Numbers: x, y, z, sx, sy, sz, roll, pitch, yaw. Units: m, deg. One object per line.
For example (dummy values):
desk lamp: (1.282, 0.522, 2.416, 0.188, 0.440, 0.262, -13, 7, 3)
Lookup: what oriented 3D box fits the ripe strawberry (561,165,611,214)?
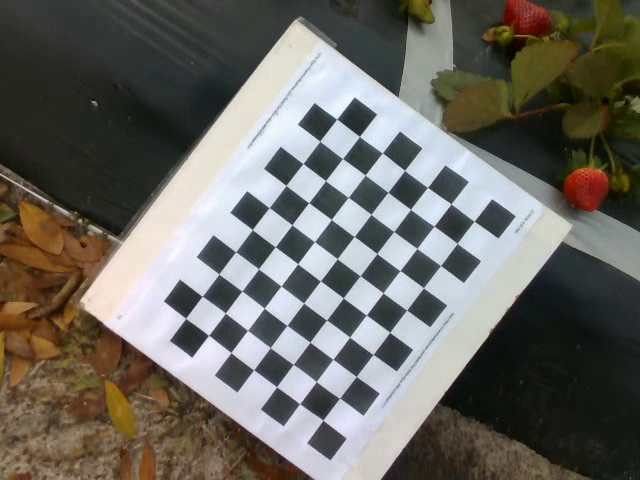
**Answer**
ripe strawberry: (0.212, -0.045, 0.530, 0.039, 0.047, 0.041, -1, -10, 11)
